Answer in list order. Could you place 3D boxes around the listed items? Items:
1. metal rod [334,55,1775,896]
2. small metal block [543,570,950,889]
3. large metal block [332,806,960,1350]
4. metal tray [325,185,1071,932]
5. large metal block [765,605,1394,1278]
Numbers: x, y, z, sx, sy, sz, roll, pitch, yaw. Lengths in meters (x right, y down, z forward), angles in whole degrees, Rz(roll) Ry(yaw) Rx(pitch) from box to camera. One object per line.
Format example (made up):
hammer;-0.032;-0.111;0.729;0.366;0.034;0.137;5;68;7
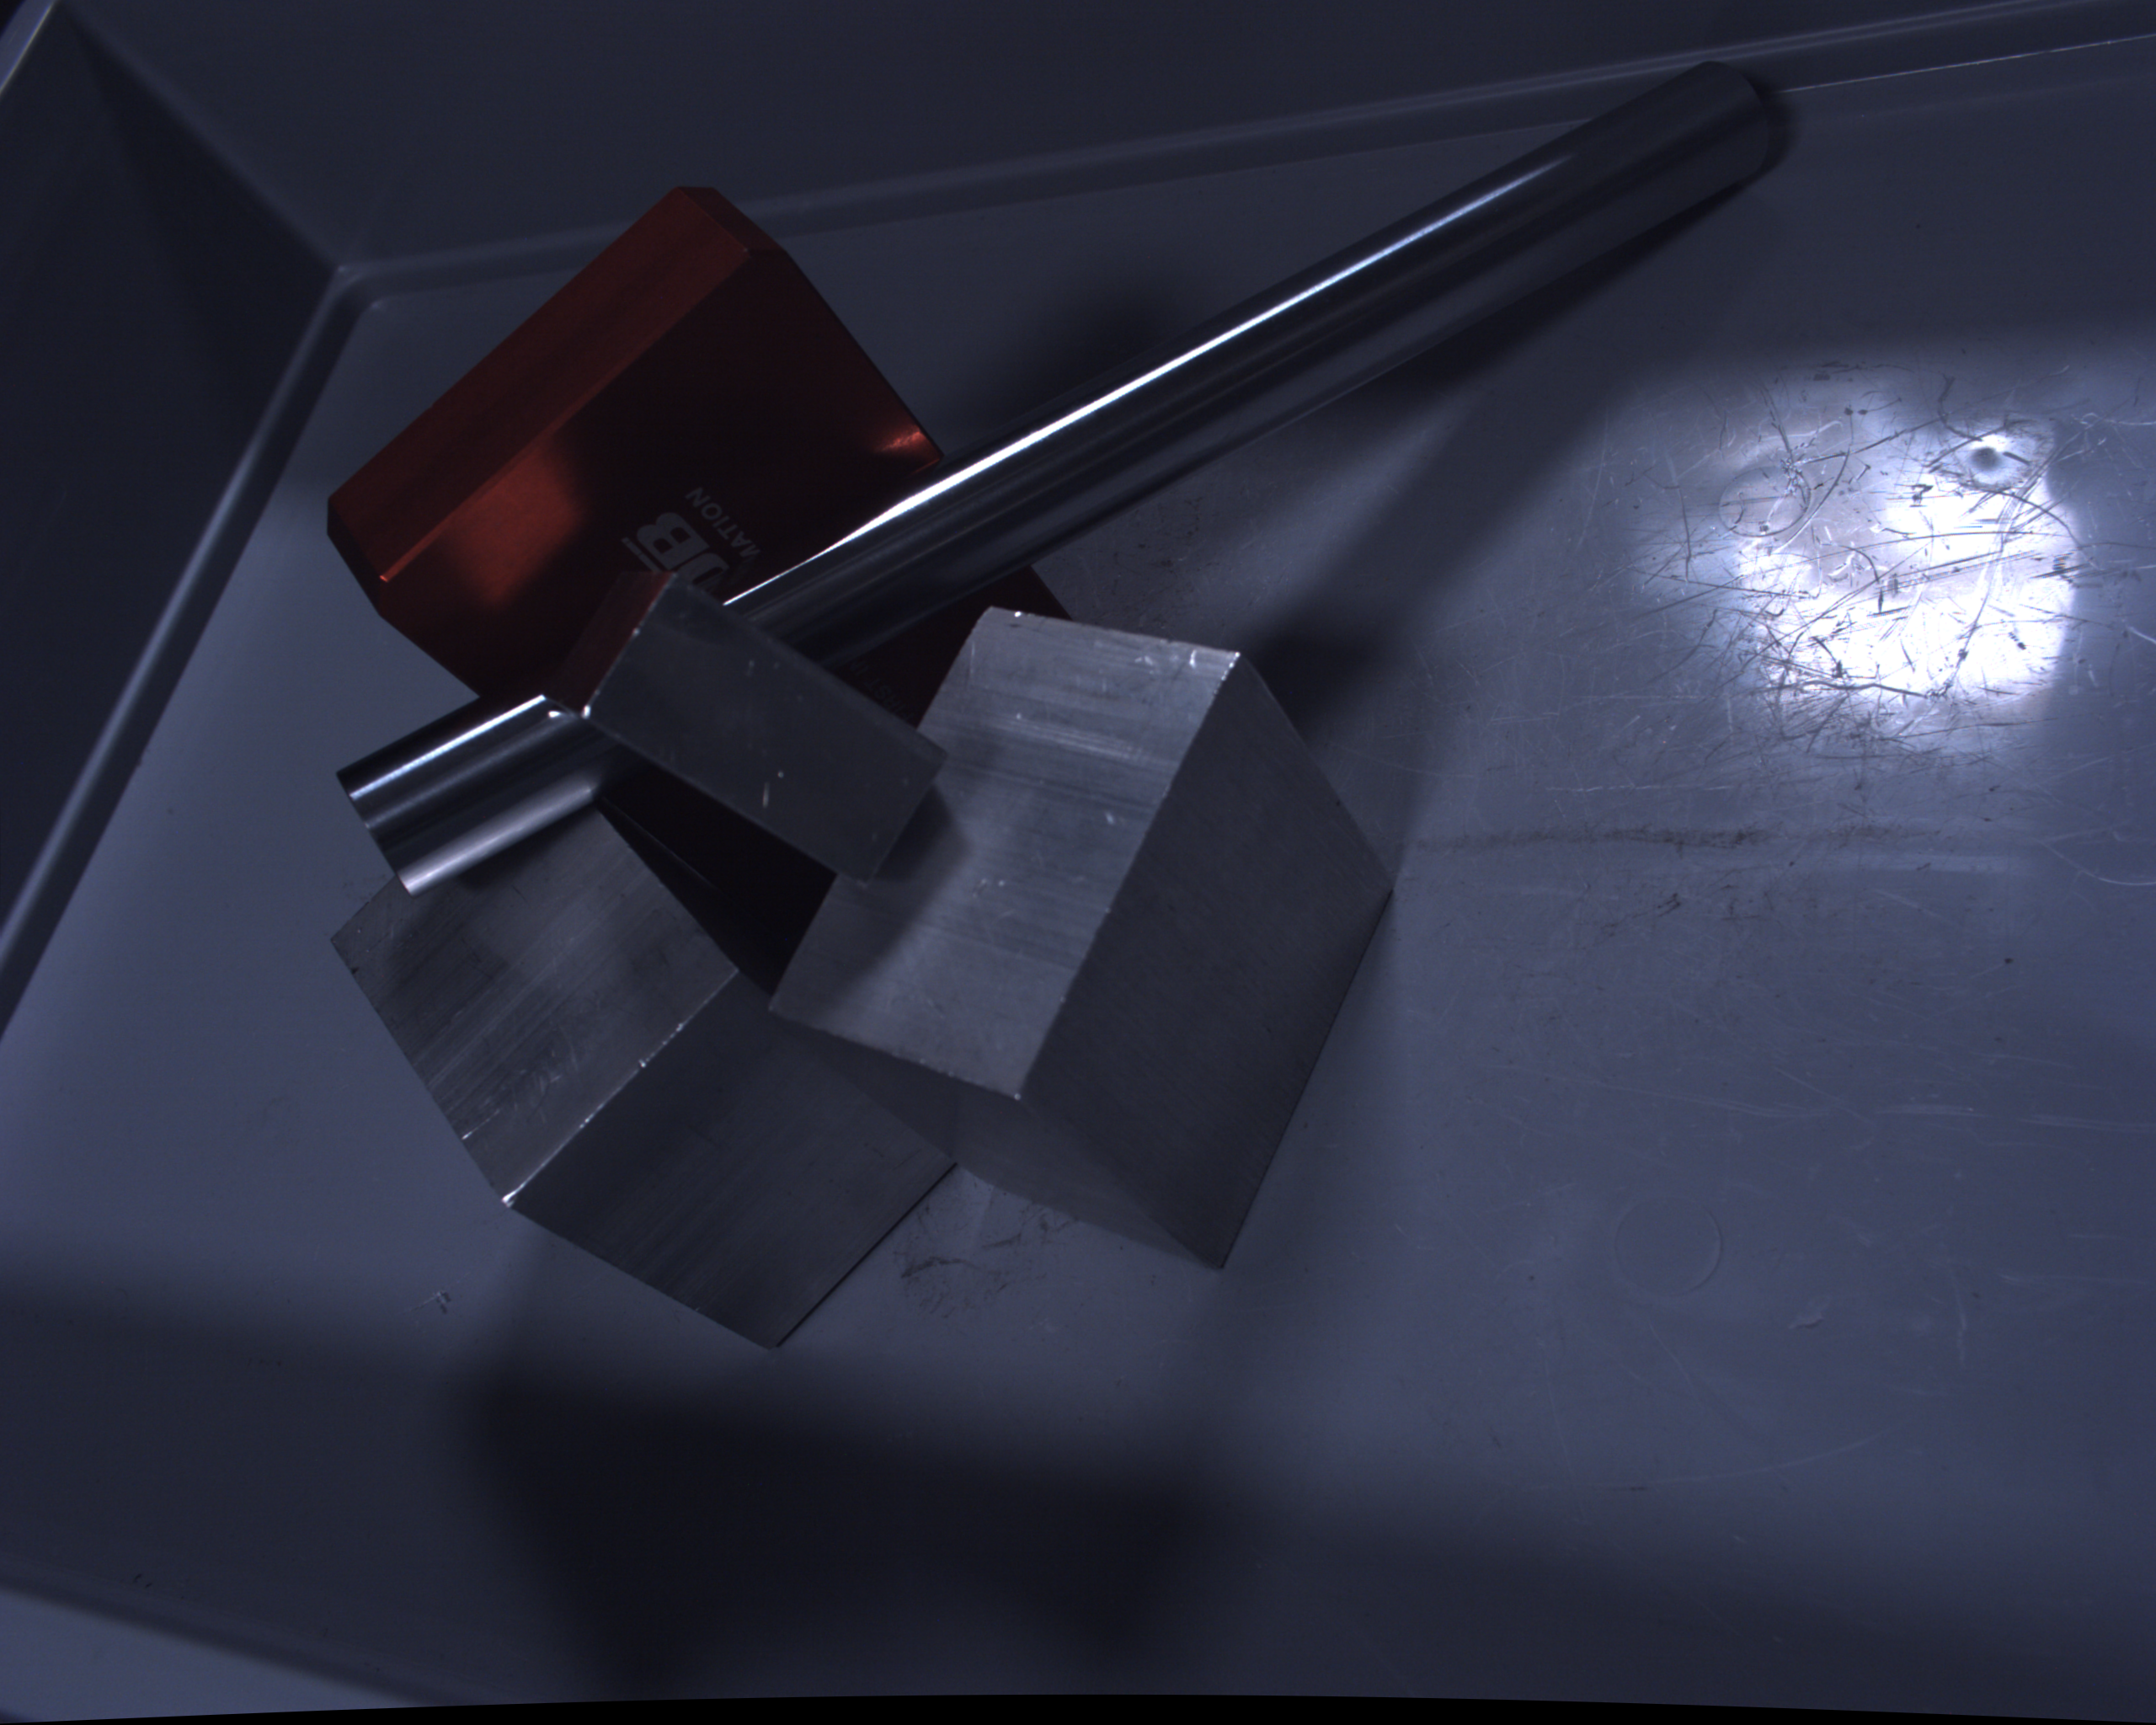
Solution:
metal rod;0.007;-0.079;0.390;0.302;0.025;0.025;-30;50;-14
small metal block;-0.055;-0.023;0.334;0.025;0.050;0.050;-59;21;-4
large metal block;-0.079;0.035;0.389;0.050;0.080;0.080;-45;51;-3
metal tray;-0.064;-0.052;0.399;0.090;0.130;0.030;-43;50;0
large metal block;0.005;0.014;0.357;0.050;0.080;0.080;14;69;33
